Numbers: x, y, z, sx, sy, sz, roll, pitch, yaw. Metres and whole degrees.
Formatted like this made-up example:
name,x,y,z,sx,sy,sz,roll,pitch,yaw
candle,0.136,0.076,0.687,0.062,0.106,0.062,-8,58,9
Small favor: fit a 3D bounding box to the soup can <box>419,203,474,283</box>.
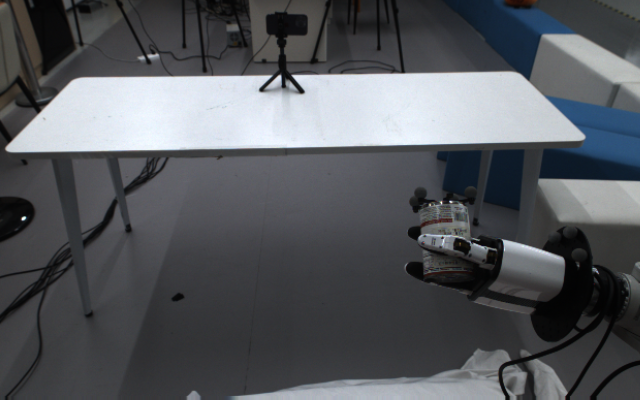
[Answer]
name,x,y,z,sx,sy,sz,roll,pitch,yaw
soup can,0.174,0.058,0.663,0.067,0.067,0.101,1,73,-2
